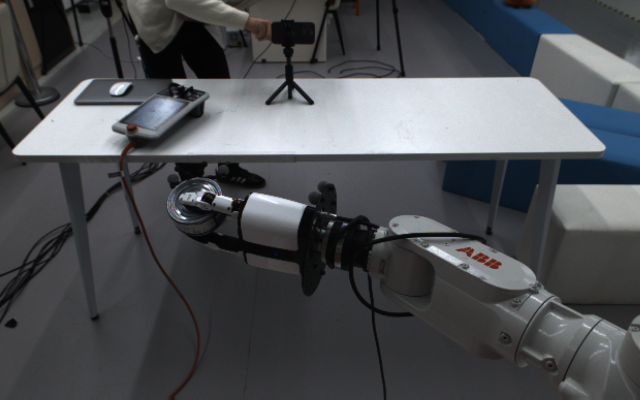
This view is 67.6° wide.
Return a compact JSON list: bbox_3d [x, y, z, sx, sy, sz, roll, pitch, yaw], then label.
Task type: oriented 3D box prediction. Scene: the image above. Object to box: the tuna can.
[{"bbox_3d":[-0.181,0.010,0.723,0.085,0.034,0.085,-3,60,5],"label":"tuna can"}]
